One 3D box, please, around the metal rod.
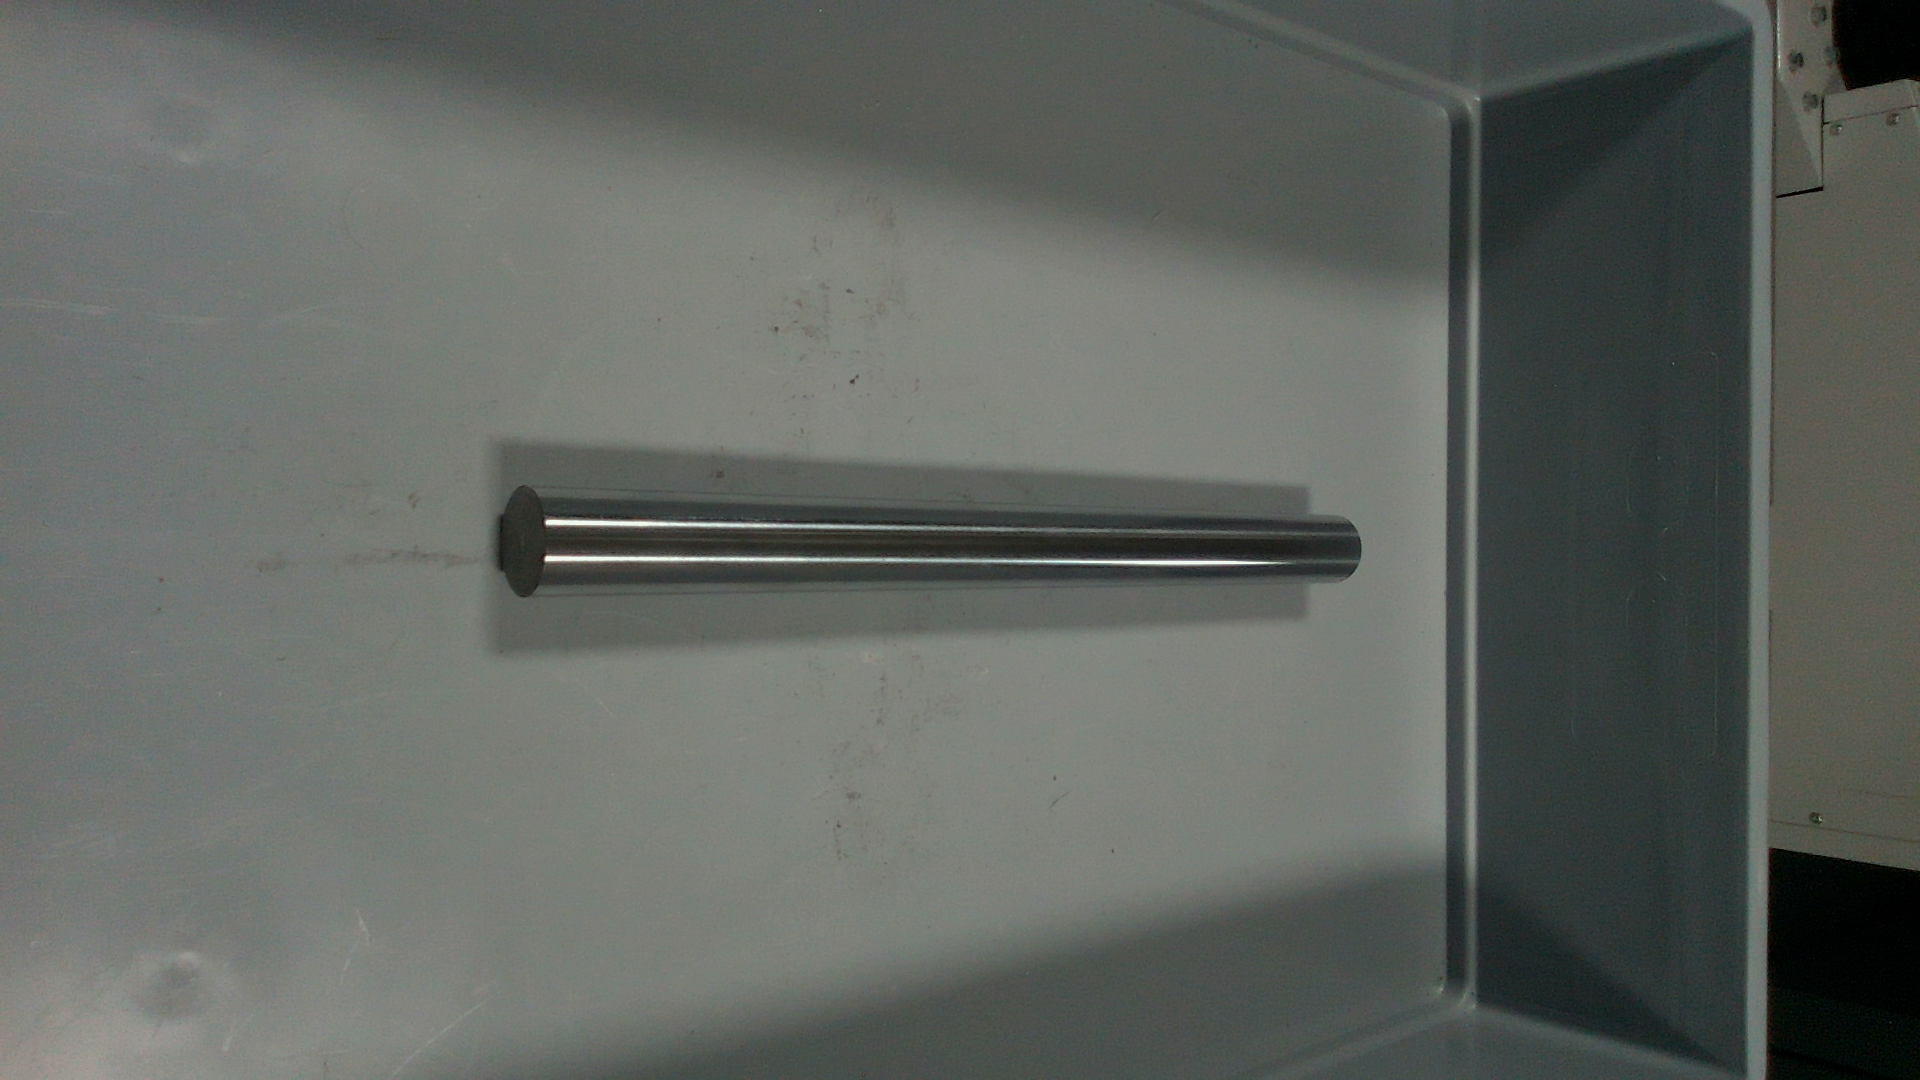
[{"bbox_3d":[0.018,0.001,0.402,0.301,0.025,0.025,0,90,-40],"label":"metal rod"}]
